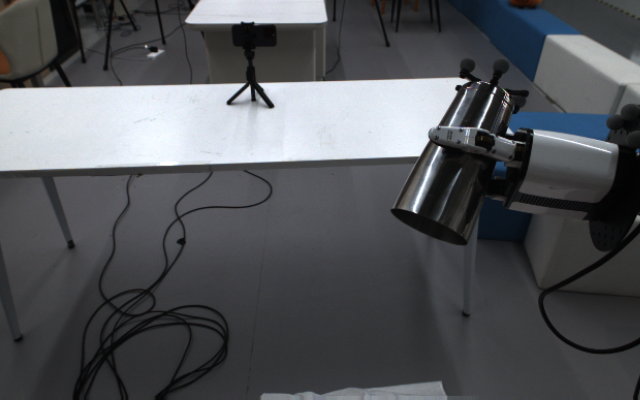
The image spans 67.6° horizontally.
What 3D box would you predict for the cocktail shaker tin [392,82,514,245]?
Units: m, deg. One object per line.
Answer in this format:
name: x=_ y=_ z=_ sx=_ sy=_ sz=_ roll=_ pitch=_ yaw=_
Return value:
cocktail shaker tin: x=0.160 y=-0.048 z=0.552 sx=0.093 sy=0.093 sz=0.170 roll=21 pitch=81 yaw=25
